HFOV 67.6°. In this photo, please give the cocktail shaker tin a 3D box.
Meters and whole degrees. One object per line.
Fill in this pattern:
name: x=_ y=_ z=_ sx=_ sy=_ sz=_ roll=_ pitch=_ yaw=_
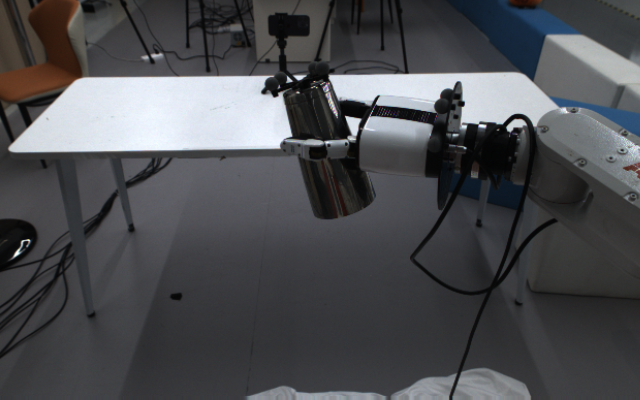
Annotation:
cocktail shaker tin: x=0.009 y=-0.070 z=0.653 sx=0.093 sy=0.170 sz=0.093 roll=-17 pitch=20 yaw=7
